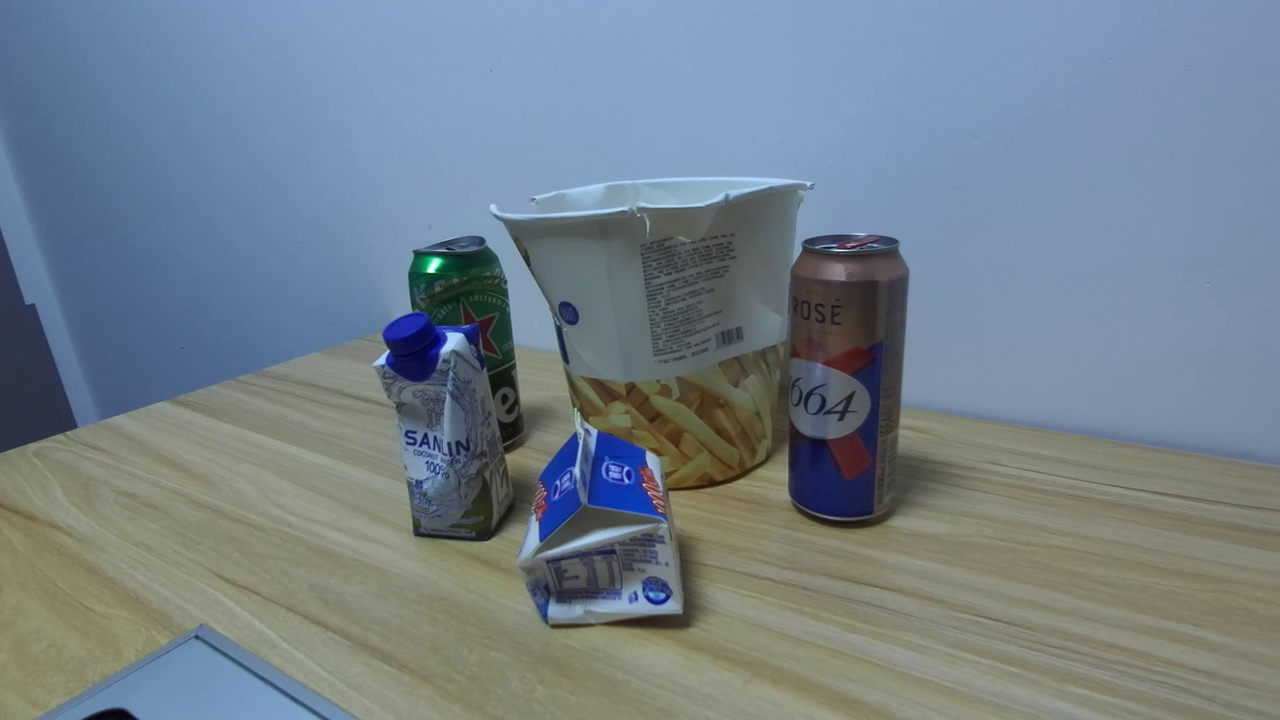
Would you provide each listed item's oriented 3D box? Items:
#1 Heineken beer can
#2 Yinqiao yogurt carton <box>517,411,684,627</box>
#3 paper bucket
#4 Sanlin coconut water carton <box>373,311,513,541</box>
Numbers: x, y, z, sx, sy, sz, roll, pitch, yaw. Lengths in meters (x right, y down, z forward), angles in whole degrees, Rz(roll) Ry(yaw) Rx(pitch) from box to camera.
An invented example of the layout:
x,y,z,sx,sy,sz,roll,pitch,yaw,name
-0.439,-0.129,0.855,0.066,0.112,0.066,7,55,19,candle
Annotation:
x,y,z,sx,sy,sz,roll,pitch,yaw,name
-0.131,-0.009,0.550,0.078,0.164,0.066,-14,17,-21,Heineken beer can
-0.025,0.081,0.366,0.080,0.097,0.074,-12,20,2,Yinqiao yogurt carton
0.019,-0.026,0.514,0.145,0.197,0.203,12,24,42,paper bucket
-0.122,0.037,0.441,0.060,0.144,0.070,0,20,15,Sanlin coconut water carton
